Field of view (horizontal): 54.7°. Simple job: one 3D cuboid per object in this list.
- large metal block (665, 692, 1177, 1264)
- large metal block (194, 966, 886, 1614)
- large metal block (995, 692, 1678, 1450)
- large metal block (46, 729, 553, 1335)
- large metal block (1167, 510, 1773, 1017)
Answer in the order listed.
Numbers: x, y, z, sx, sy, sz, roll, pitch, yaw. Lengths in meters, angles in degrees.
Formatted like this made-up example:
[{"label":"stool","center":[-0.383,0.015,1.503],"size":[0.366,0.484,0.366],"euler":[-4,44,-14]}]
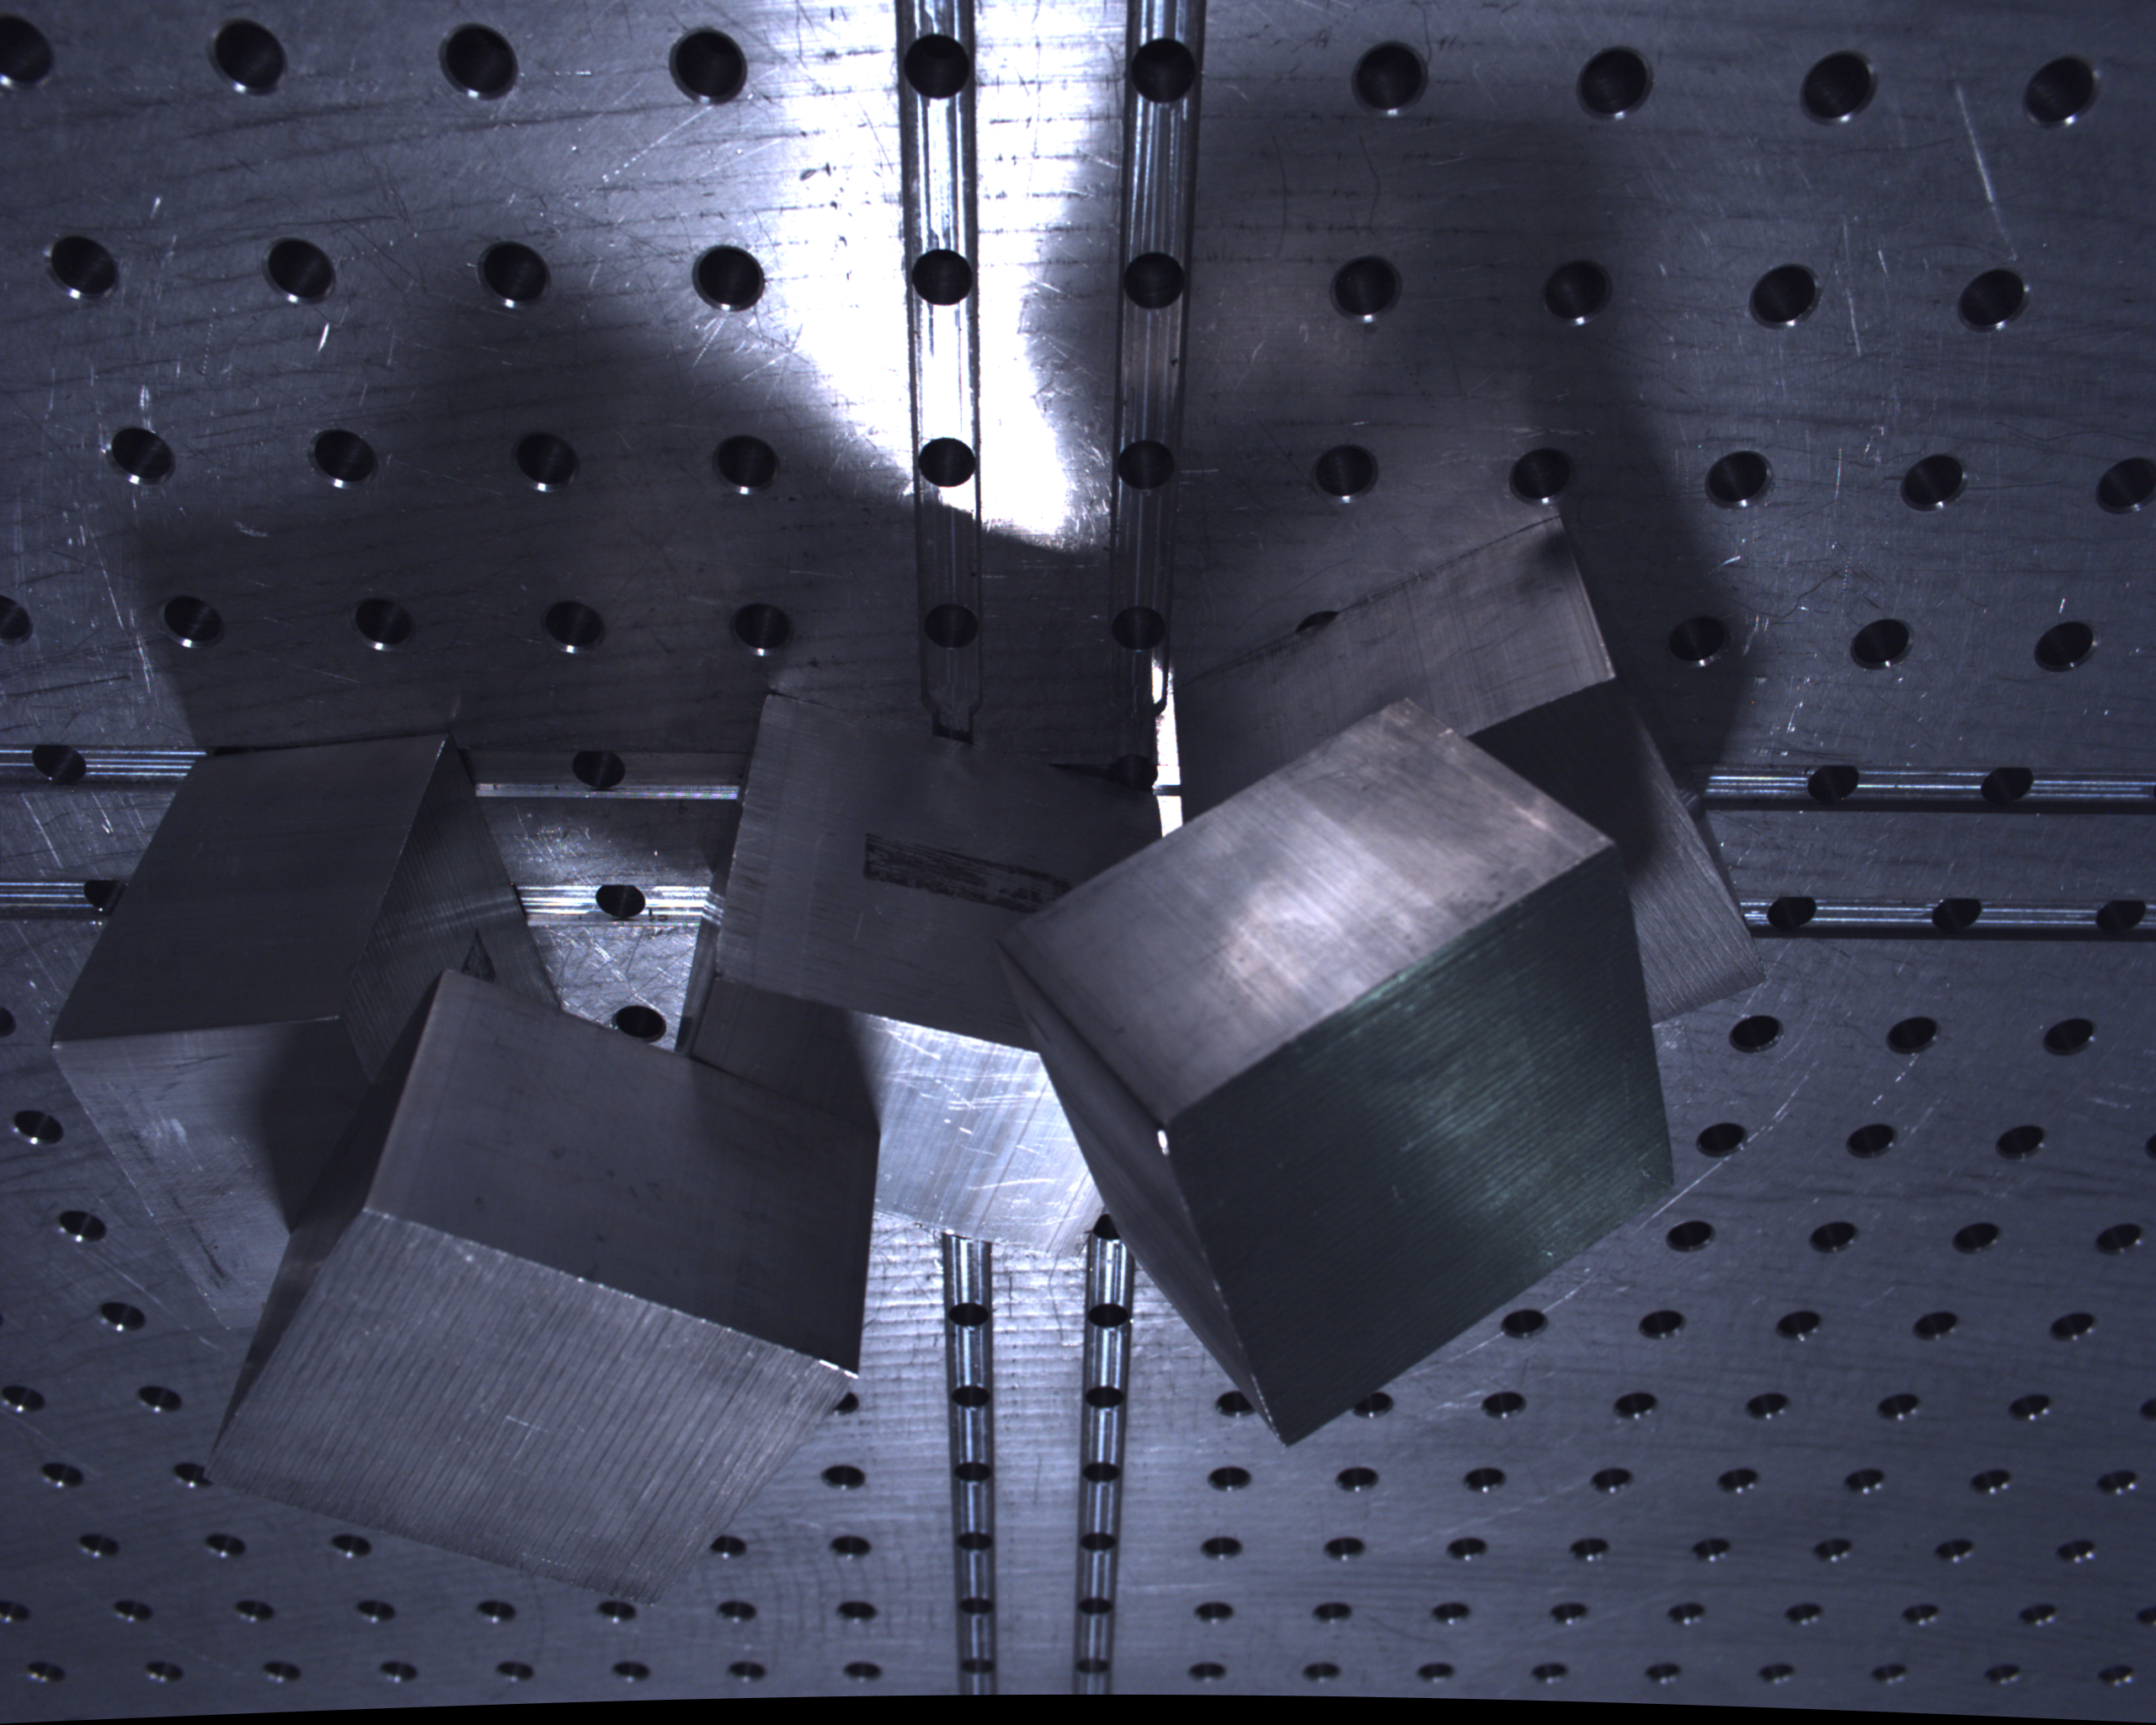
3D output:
[{"label":"large metal block","center":[-0.029,0.021,0.392],"size":[0.081,0.080,0.050],"euler":[15,129,-13]},{"label":"large metal block","center":[-0.089,0.074,0.351],"size":[0.080,0.050,0.080],"euler":[25,125,-20]},{"label":"large metal block","center":[0.044,0.033,0.334],"size":[0.080,0.050,0.080],"euler":[-31,130,-13]},{"label":"large metal block","center":[-0.142,0.032,0.400],"size":[0.050,0.080,0.080],"euler":[-5,130,4]},{"label":"large metal block","center":[0.072,-0.006,0.391],"size":[0.080,0.050,0.080],"euler":[-24,127,18]}]
